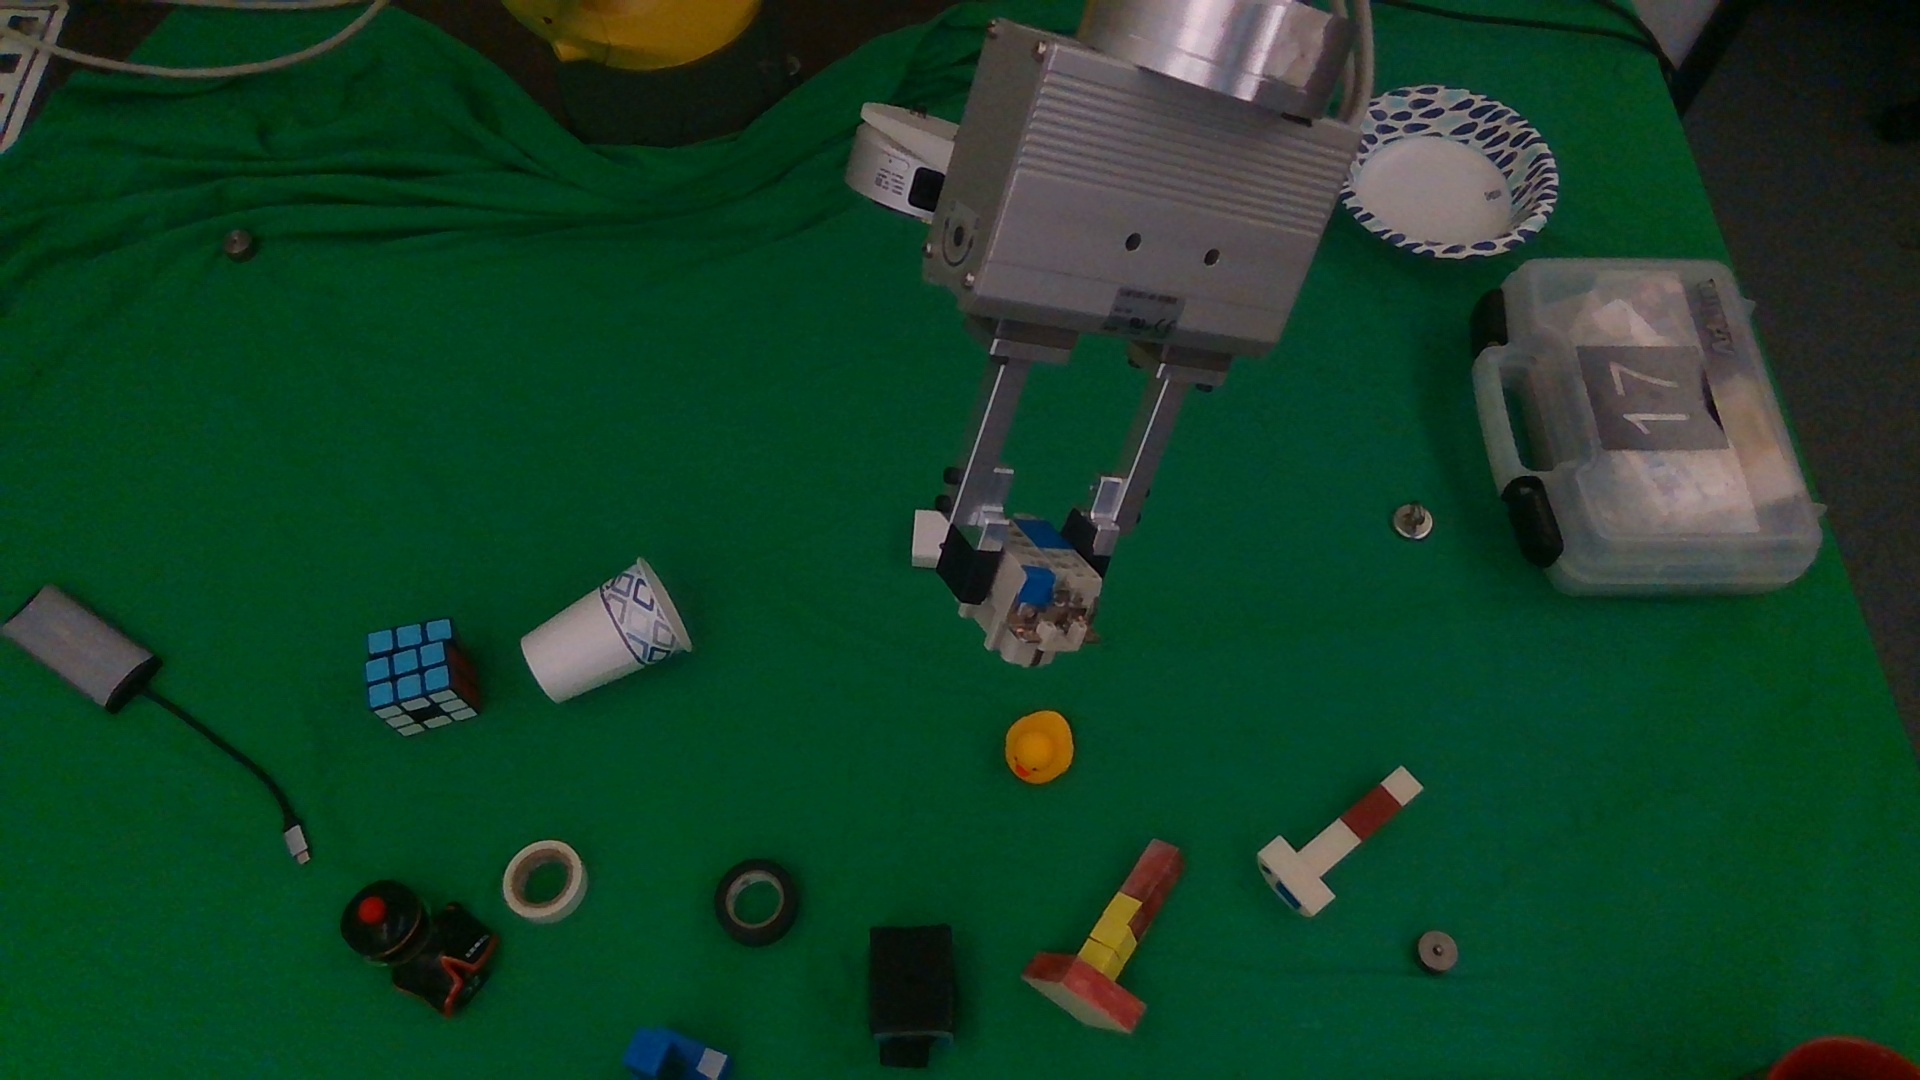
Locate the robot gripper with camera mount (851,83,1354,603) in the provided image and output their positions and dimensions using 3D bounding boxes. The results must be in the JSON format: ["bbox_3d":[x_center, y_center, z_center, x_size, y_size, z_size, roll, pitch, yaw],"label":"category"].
[{"bbox_3d":[0.005,-0.090,0.496,0.118,0.159,0.194,4,30,-31],"label":"robot gripper with camera mount"}]

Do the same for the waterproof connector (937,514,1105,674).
[{"bbox_3d":[0.020,0.018,0.470,0.034,0.037,0.065,0,32,-33],"label":"waterproof connector"}]
